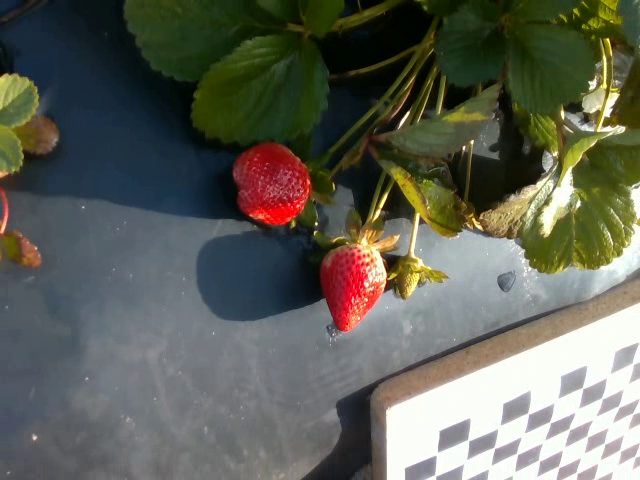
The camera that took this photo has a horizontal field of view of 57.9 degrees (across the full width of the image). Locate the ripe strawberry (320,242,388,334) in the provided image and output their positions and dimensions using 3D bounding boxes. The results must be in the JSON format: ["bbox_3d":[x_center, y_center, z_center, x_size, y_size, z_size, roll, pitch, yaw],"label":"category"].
[{"bbox_3d":[0.018,0.027,0.304,0.043,0.053,0.038,29,-29,-36],"label":"ripe strawberry"}]

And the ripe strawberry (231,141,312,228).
[{"bbox_3d":[-0.025,-0.028,0.295,0.039,0.048,0.054,28,29,33],"label":"ripe strawberry"}]
